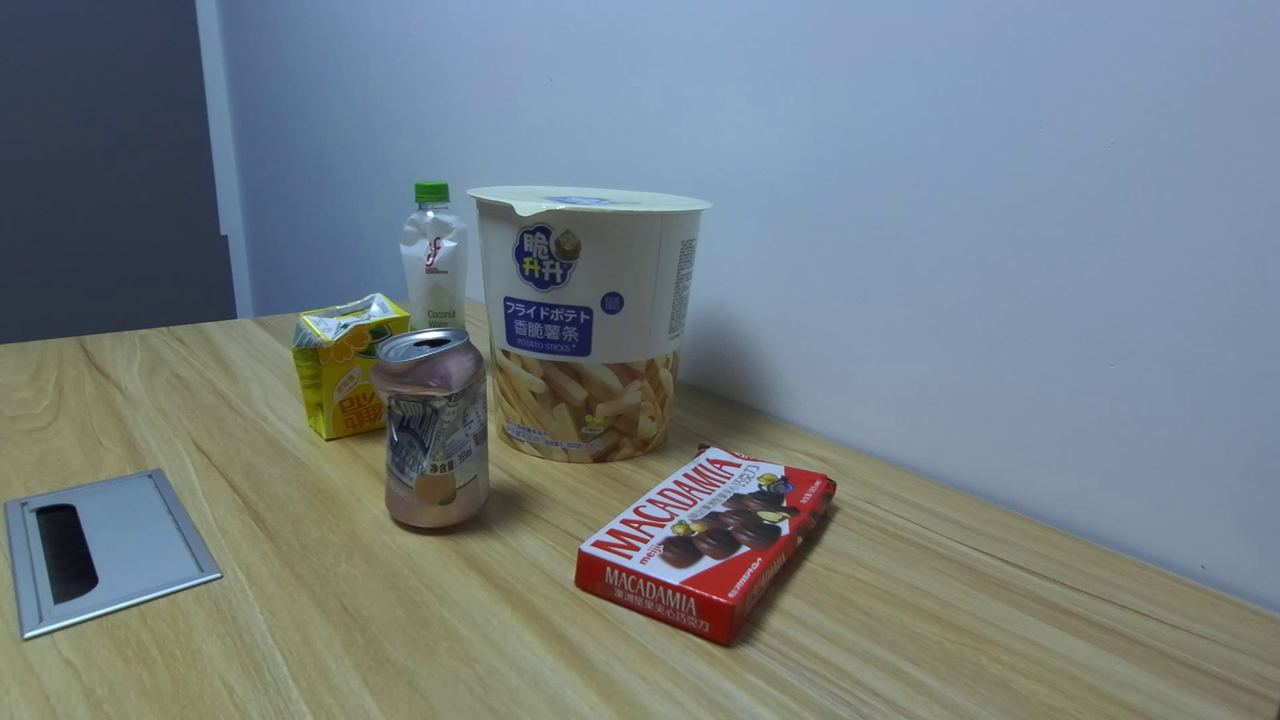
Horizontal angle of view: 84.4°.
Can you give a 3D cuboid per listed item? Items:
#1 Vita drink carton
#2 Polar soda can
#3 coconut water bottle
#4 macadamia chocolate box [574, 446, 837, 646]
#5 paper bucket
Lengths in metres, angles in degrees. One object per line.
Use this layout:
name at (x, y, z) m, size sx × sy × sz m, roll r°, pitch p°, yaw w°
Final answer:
Vita drink carton at (-0.223, 0.008, 0.555) m, size 0.087 × 0.108 × 0.042 m, roll -15°, pitch 37°, yaw -37°
Polar soda can at (-0.134, 0.044, 0.443) m, size 0.071 × 0.122 × 0.066 m, roll 3°, pitch 22°, yaw 5°
coconut water bottle at (-0.197, -0.075, 0.687) m, size 0.069 × 0.186 × 0.069 m, roll -1°, pitch 15°, yaw 1°
macadamia chocolate box at (0.050, 0.102, 0.442) m, size 0.105 × 0.028 × 0.183 m, roll 12°, pitch 19°, yaw 27°
paper bucket at (-0.040, -0.035, 0.577) m, size 0.198 × 0.194 × 0.198 m, roll 3°, pitch 17°, yaw -1°
